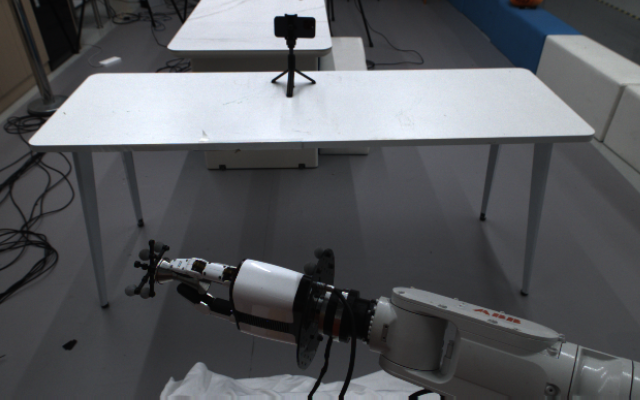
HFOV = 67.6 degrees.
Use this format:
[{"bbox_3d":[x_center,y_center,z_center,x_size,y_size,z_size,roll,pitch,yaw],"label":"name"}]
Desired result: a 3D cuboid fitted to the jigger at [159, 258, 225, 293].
[{"bbox_3d":[-0.187,0.103,0.686,0.071,0.043,0.043,8,35,12],"label":"jigger"}]
